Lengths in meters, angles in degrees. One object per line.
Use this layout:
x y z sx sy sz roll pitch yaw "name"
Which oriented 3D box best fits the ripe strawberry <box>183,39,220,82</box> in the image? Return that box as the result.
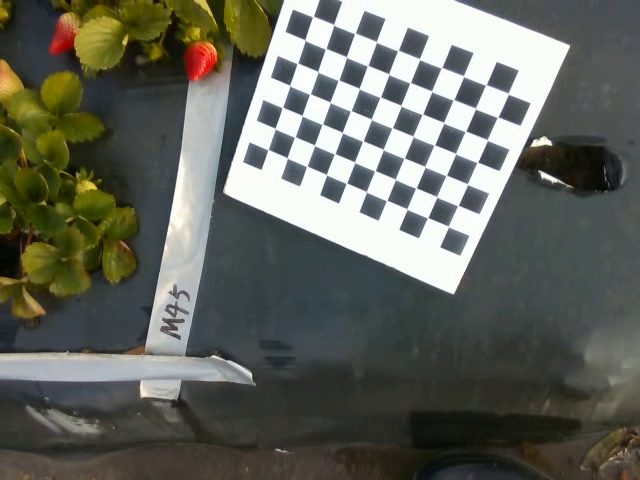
-0.124 -0.179 0.637 0.050 0.055 0.036 16 -5 2 "ripe strawberry"
